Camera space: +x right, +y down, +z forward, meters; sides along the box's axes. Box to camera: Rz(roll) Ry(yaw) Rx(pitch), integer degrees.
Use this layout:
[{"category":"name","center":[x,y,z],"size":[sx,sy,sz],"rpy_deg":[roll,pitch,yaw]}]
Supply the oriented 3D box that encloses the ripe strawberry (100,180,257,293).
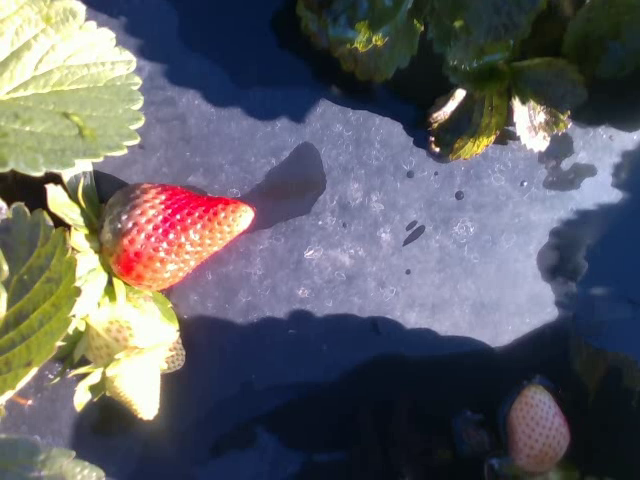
[{"category":"ripe strawberry","center":[-0.053,-0.005,0.233],"size":[0.064,0.050,0.052],"rpy_deg":[-17,43,3]}]
